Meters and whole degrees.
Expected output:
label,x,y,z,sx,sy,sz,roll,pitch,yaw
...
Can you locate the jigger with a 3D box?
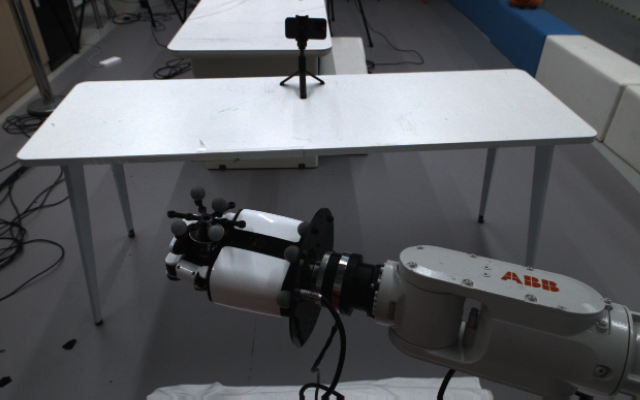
label,x,y,z,sx,sy,sz,roll,pitch,yaw
jigger,-0.132,0.065,0.578,0.043,0.071,0.043,6,32,-4
